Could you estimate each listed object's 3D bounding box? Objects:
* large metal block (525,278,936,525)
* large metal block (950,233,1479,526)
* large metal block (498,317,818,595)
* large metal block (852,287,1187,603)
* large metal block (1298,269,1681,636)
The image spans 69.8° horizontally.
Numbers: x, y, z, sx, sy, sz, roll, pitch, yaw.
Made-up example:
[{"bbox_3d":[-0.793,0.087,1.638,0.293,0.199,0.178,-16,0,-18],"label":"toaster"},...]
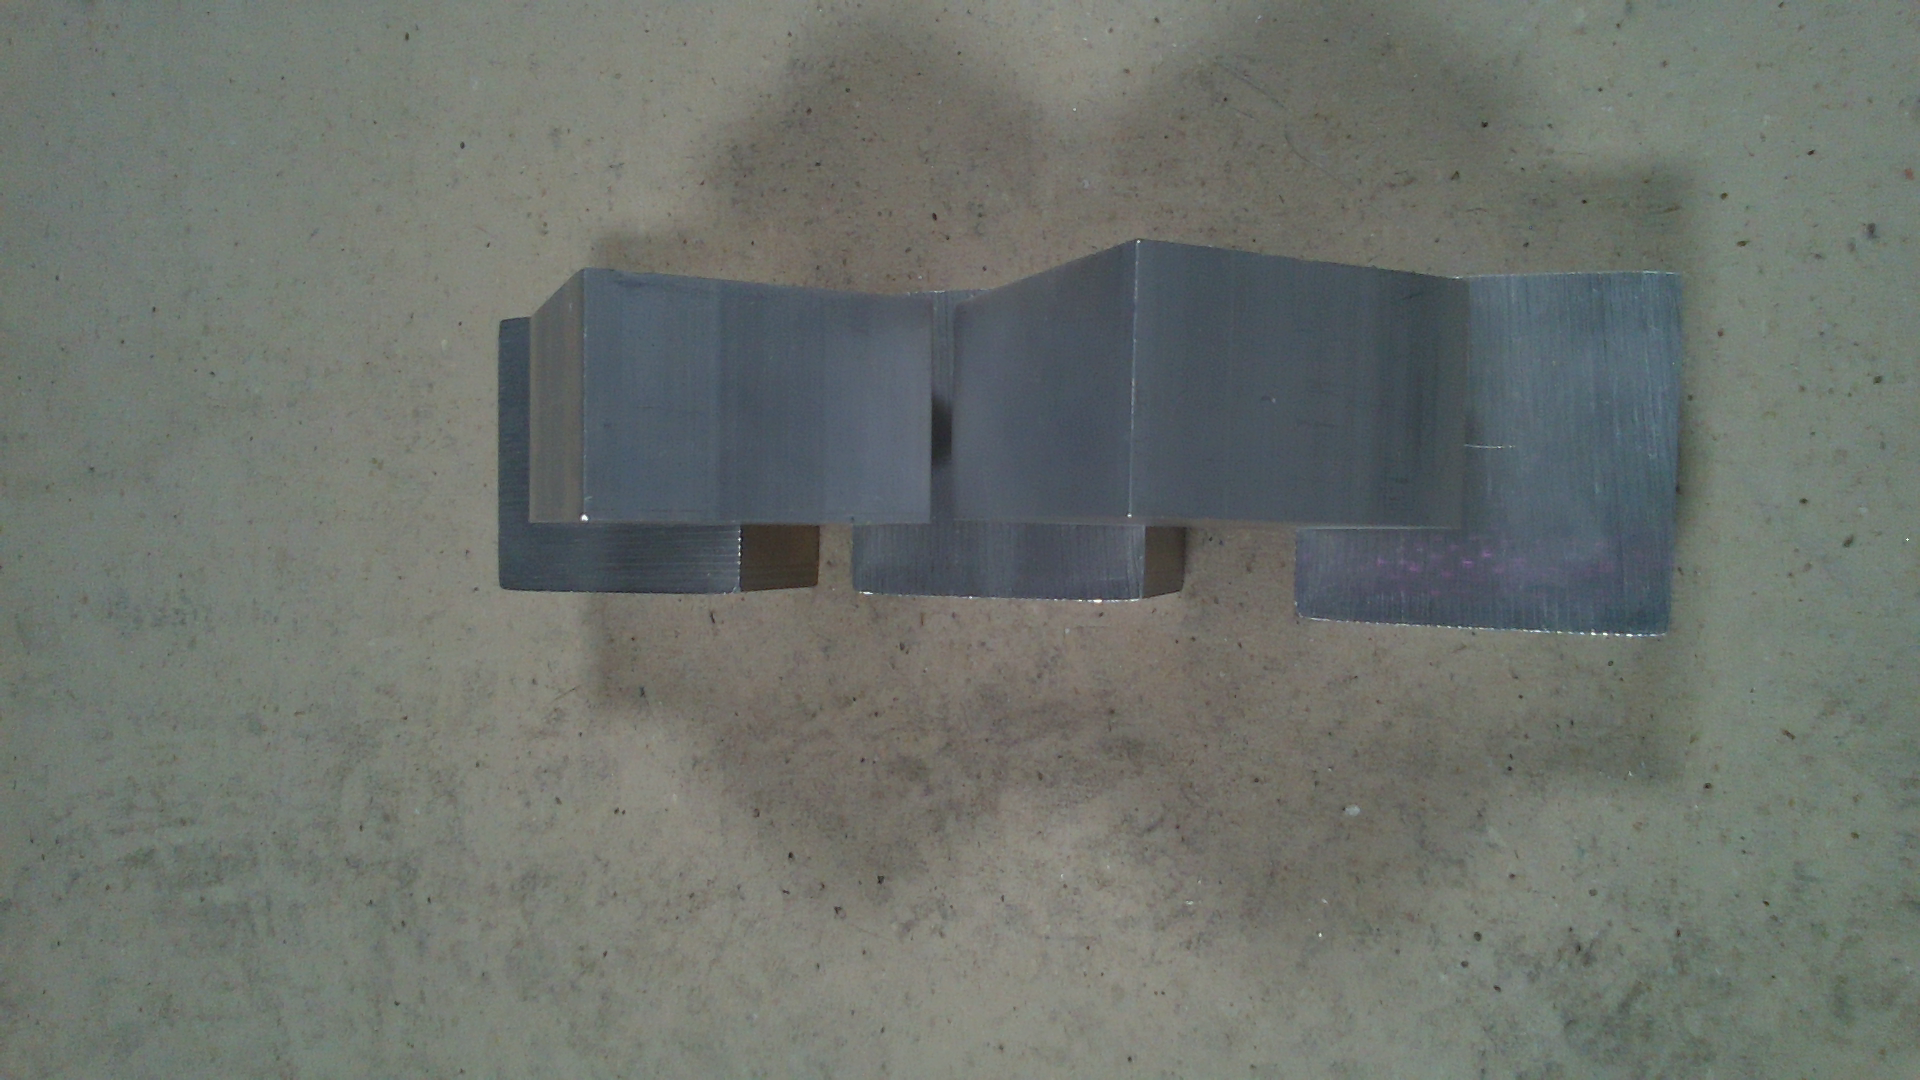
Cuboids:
[{"bbox_3d":[-0.059,-0.029,0.335,0.080,0.080,0.050,-1,90,-25],"label":"large metal block"},{"bbox_3d":[0.051,-0.029,0.297,0.080,0.080,0.050,-179,90,-65],"label":"large metal block"},{"bbox_3d":[-0.090,-0.025,0.416,0.080,0.050,0.080,0,90,20],"label":"large metal block"},{"bbox_3d":[0.018,-0.025,0.377,0.080,0.050,0.080,1,90,20],"label":"large metal block"},{"bbox_3d":[0.127,-0.020,0.337,0.080,0.050,0.080,1,91,20],"label":"large metal block"}]
